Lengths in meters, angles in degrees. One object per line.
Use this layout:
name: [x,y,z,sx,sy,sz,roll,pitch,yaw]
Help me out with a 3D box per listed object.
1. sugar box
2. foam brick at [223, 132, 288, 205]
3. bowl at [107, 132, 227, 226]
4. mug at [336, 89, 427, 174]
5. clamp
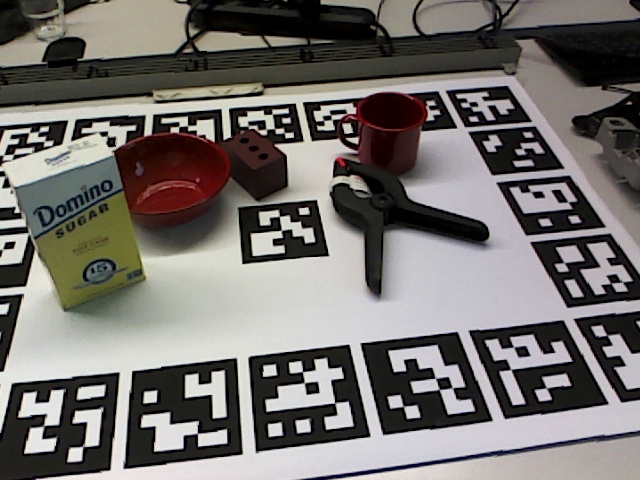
sugar box: [-0.247,-0.008,0.634,0.092,0.176,0.045,-25,53,-25]
foam brick: [-0.085,-0.094,0.814,0.052,0.051,0.078,-28,53,-24]
bowl: [-0.196,-0.068,0.777,0.161,0.055,0.162,1,45,-1]
mug: [0.078,-0.146,0.834,0.117,0.081,0.093,15,47,9]
clamp: [0.067,-0.039,0.754,0.165,0.036,0.204,-25,52,-20]
